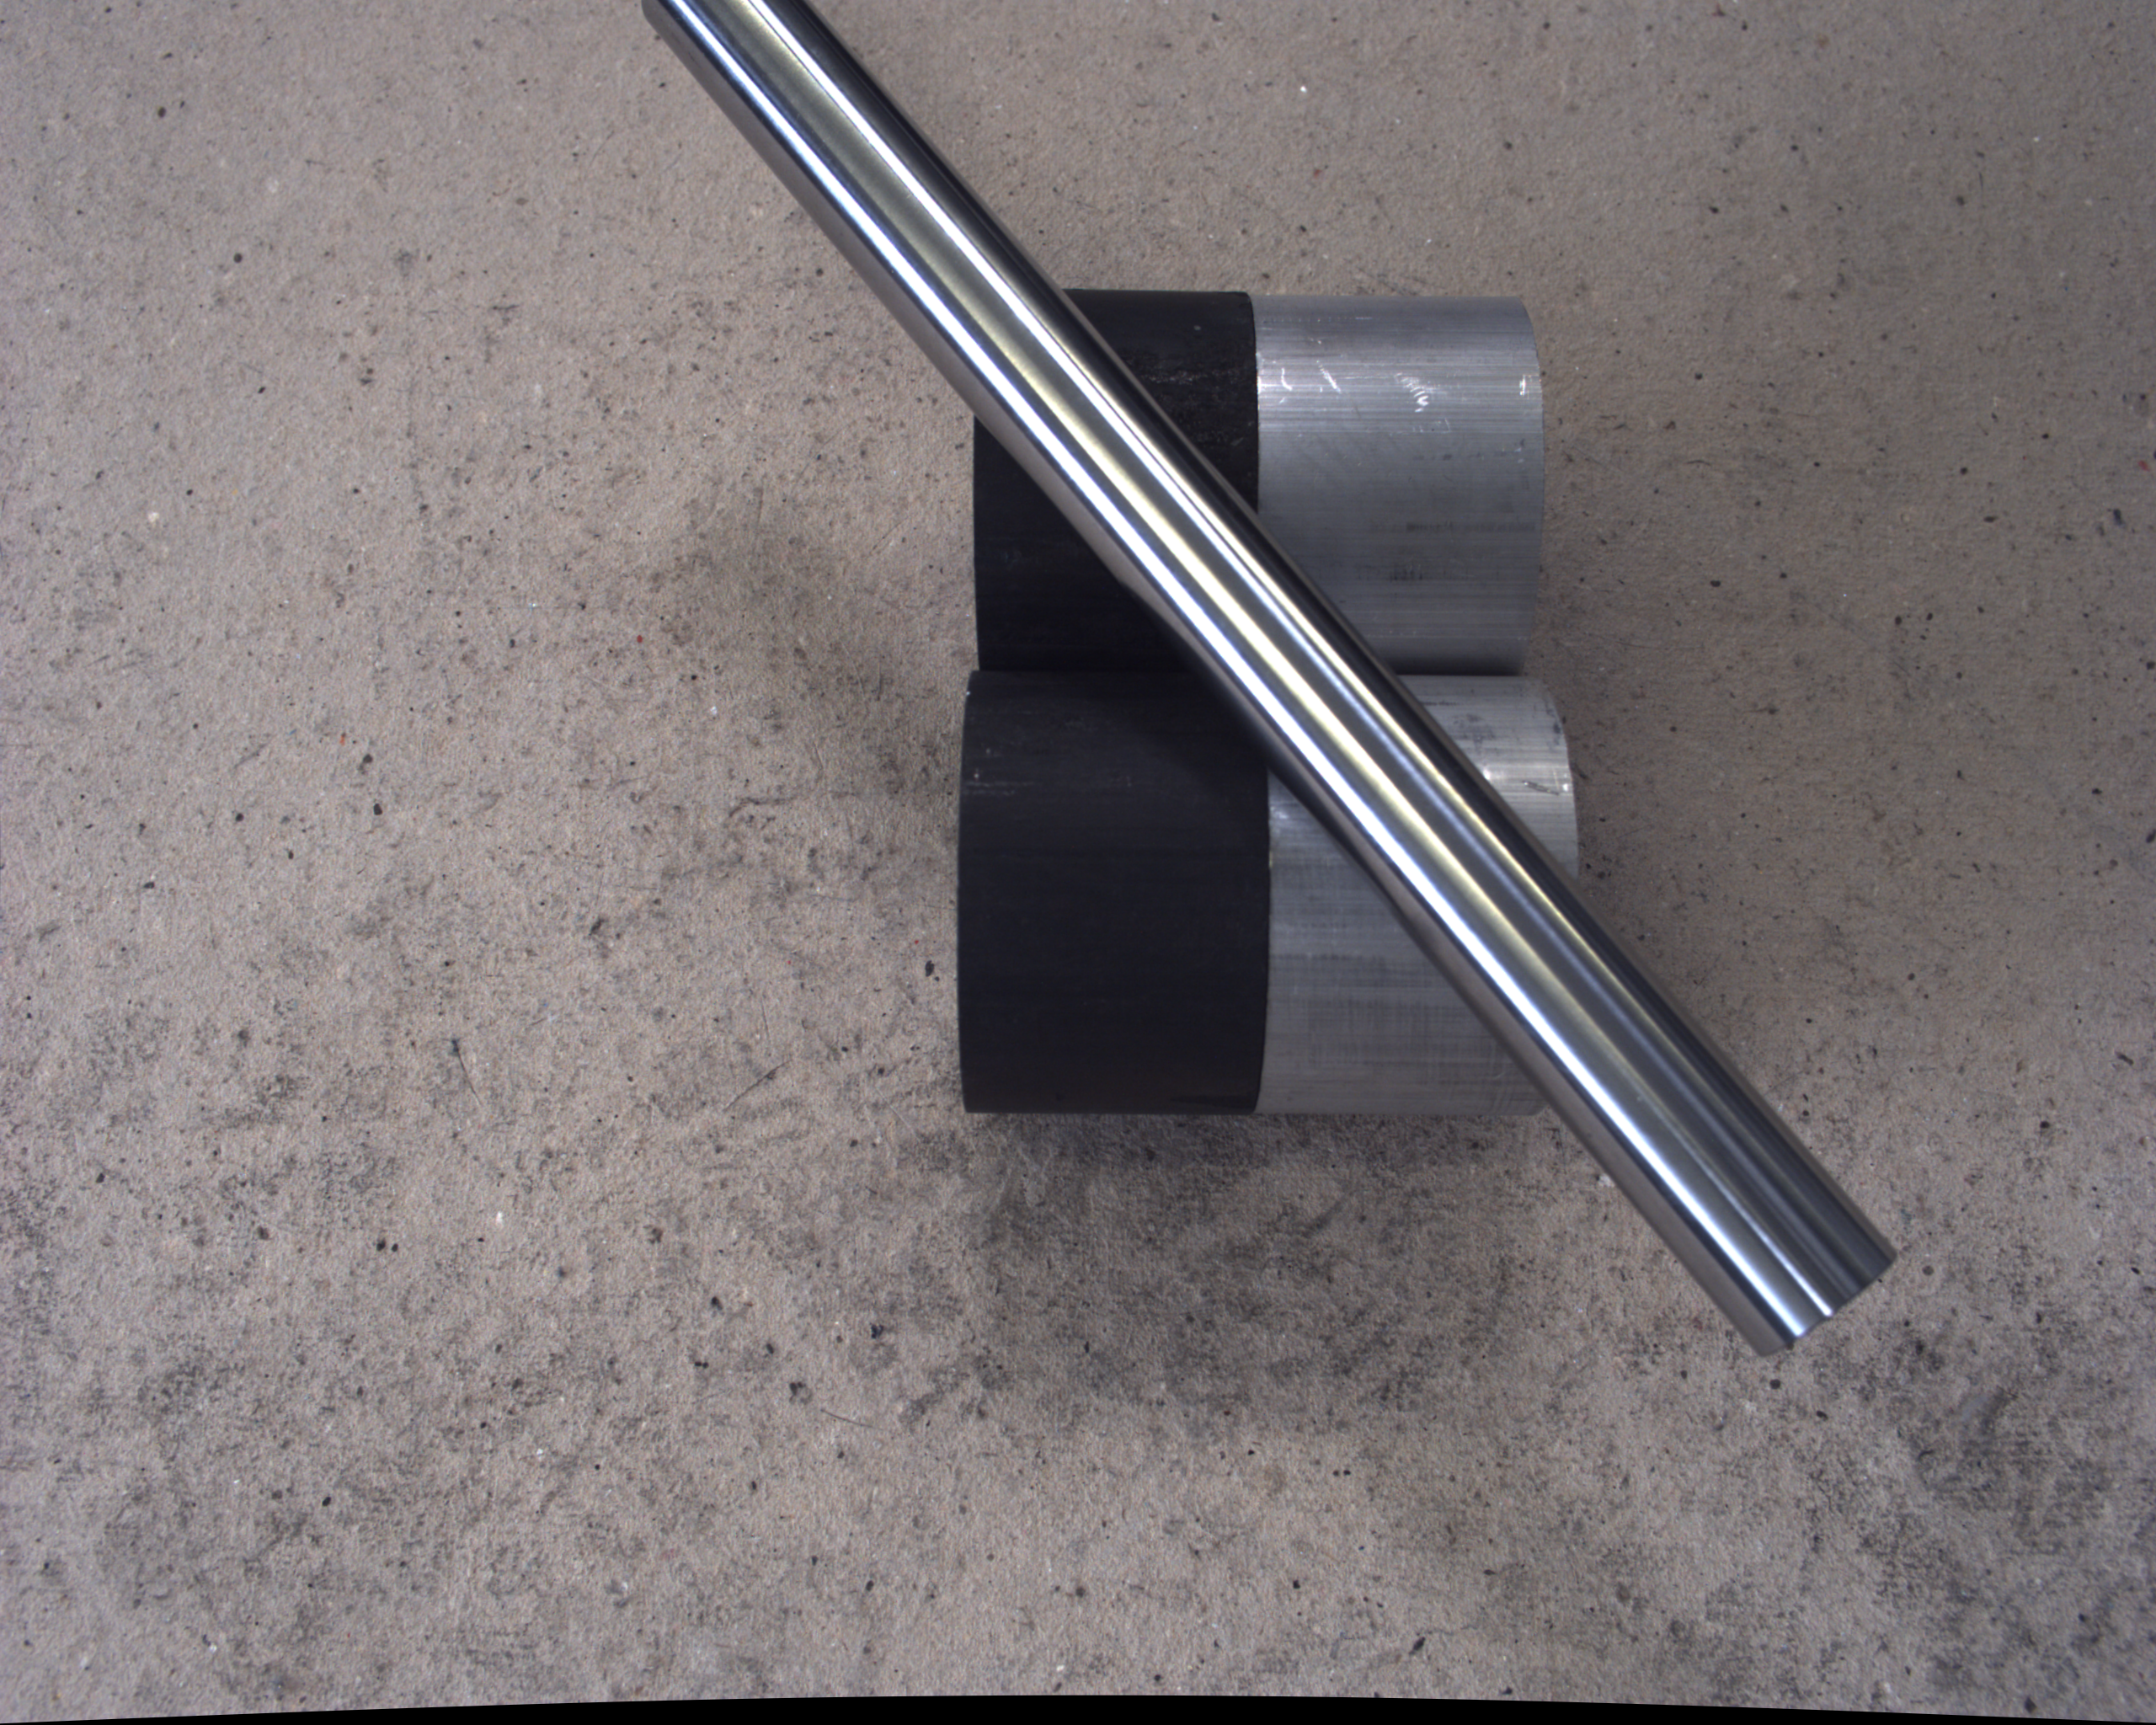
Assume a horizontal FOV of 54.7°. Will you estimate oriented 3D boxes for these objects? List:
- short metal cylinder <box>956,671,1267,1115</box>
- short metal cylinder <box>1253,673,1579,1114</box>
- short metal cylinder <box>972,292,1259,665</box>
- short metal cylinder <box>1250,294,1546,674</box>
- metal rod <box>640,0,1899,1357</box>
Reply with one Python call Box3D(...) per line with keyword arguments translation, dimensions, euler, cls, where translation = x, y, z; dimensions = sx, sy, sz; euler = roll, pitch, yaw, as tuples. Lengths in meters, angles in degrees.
Box3D(translation=(0.006, 0.005, 0.378), dimensions=(0.050, 0.080, 0.080), euler=(1, 70, 0), cls="short metal cylinder")
Box3D(translation=(0.057, 0.005, 0.379), dimensions=(0.050, 0.080, 0.080), euler=(1, 70, 0), cls="short metal cylinder")
Box3D(translation=(0.007, -0.070, 0.406), dimensions=(0.050, 0.080, 0.080), euler=(1, 70, 0), cls="short metal cylinder")
Box3D(translation=(0.057, -0.069, 0.406), dimensions=(0.050, 0.080, 0.080), euler=(1, 70, 0), cls="short metal cylinder")
Box3D(translation=(0.020, -0.049, 0.342), dimensions=(0.025, 0.025, 0.300), euler=(-35, 74, -12), cls="metal rod")
